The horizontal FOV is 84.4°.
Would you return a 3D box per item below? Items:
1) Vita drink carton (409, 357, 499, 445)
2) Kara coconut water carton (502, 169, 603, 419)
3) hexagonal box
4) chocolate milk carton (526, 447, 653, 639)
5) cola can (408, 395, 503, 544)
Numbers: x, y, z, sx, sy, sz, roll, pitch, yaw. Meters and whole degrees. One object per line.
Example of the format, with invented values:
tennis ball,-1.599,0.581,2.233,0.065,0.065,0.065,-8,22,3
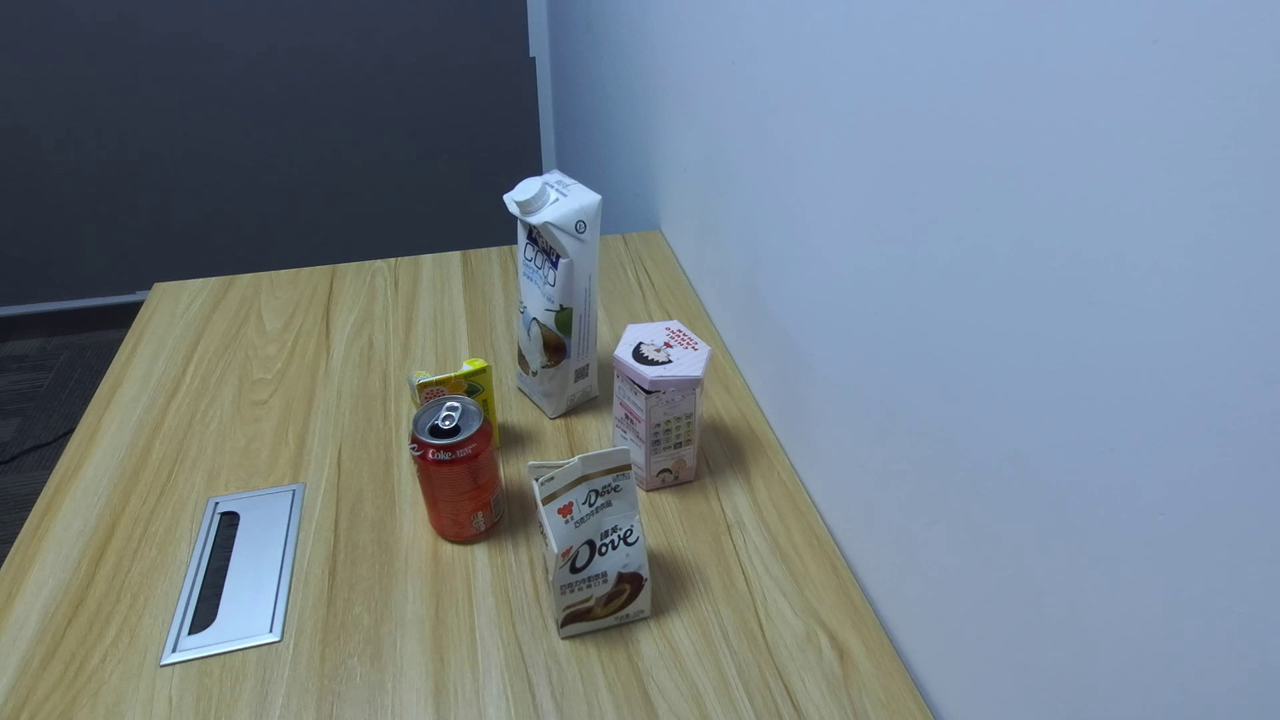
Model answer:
Vita drink carton,-0.172,0.042,0.657,0.071,0.110,0.046,-17,42,-22
Kara coconut water carton,-0.079,-0.060,0.672,0.071,0.244,0.099,-27,46,-31
hexagonal box,0.016,0.041,0.632,0.085,0.135,0.091,-30,48,-34
chocolate milk carton,-0.032,0.123,0.515,0.084,0.155,0.073,-9,40,-12
cola can,-0.151,0.090,0.588,0.068,0.120,0.067,0,38,1
